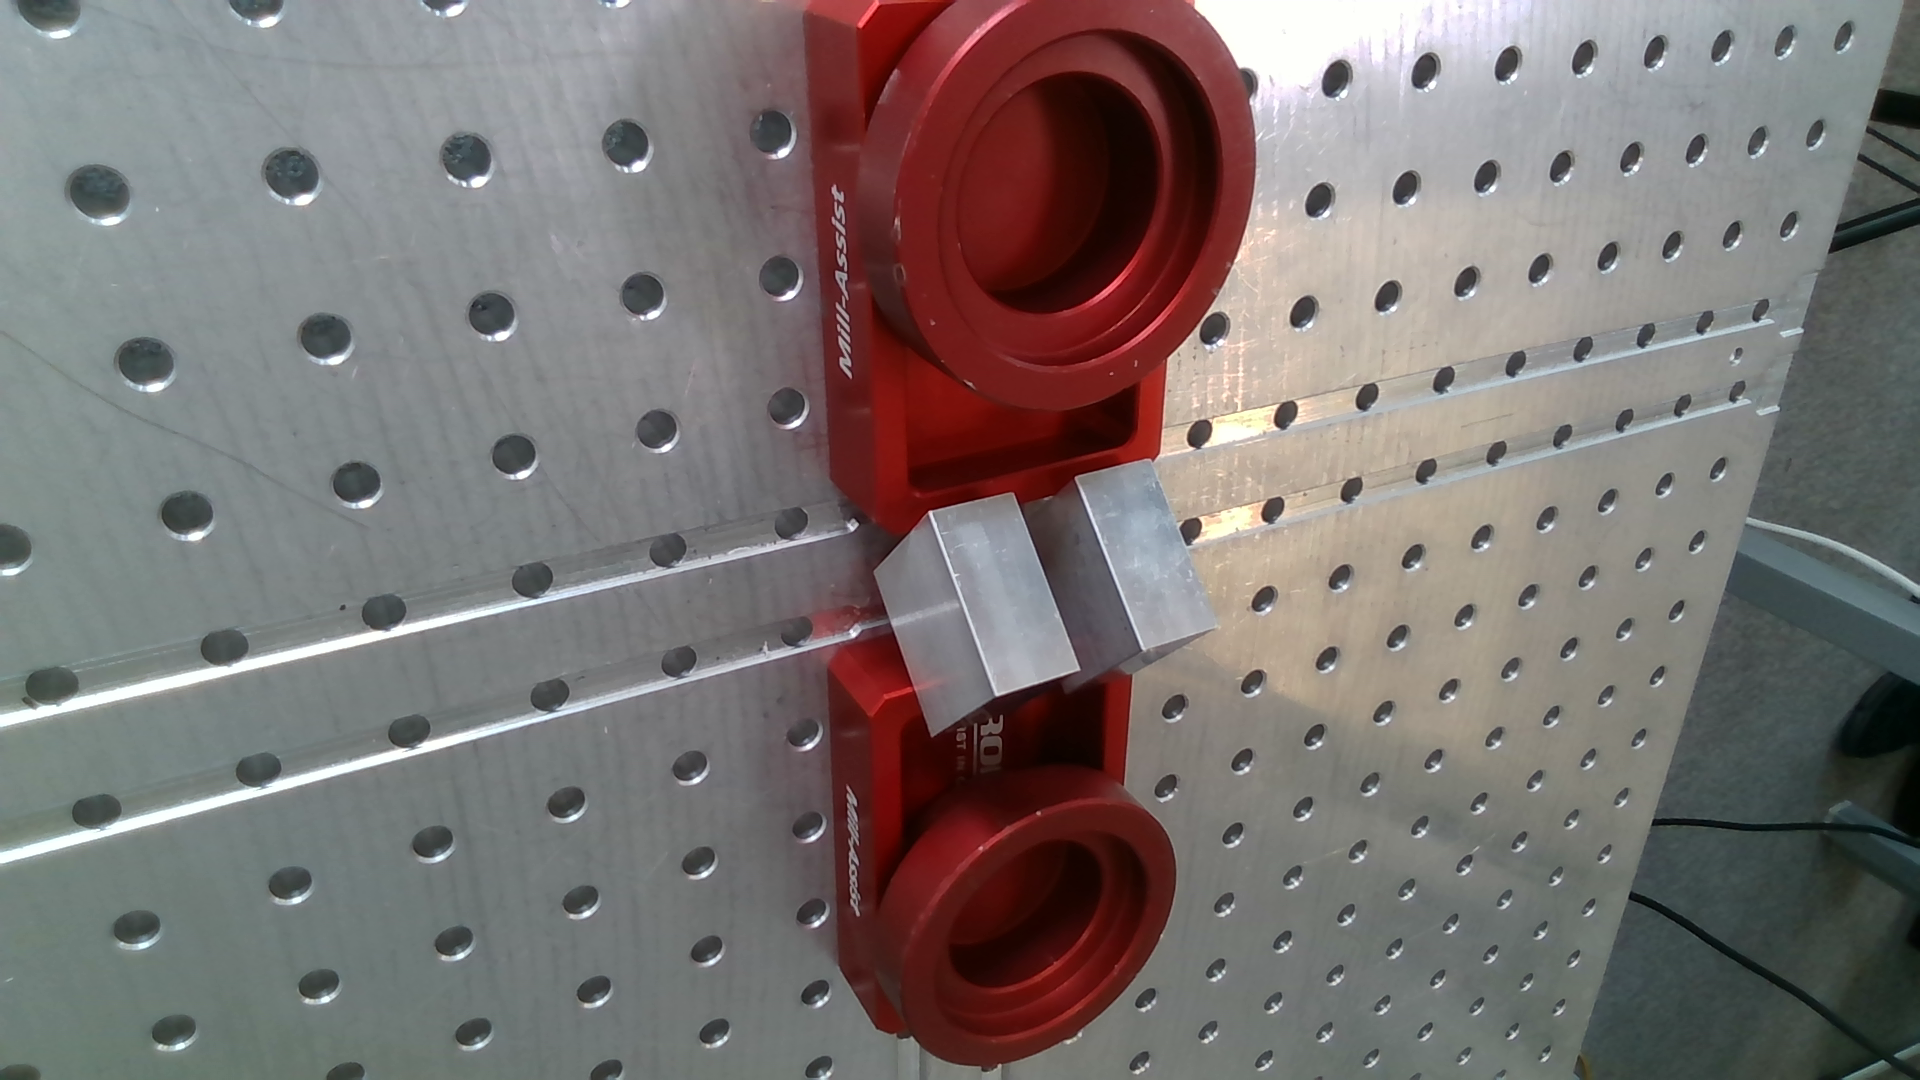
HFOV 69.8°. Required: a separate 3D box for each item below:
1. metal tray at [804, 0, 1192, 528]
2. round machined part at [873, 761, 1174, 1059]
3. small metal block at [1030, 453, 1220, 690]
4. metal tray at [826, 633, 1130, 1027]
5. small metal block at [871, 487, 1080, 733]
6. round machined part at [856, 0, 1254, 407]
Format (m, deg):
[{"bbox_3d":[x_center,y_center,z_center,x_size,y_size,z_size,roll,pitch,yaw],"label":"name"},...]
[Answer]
[{"bbox_3d":[0.011,-0.075,0.357,0.090,0.030,0.130,-14,121,-23],"label":"metal tray"},{"bbox_3d":[0.016,0.111,0.436,0.098,0.042,0.098,-14,122,-25],"label":"round machined part"},{"bbox_3d":[0.041,0.010,0.389,0.025,0.050,0.050,-14,77,-25],"label":"small metal block"},{"bbox_3d":[0.006,0.085,0.441,0.090,0.030,0.130,-14,121,-25],"label":"metal tray"},{"bbox_3d":[0.003,0.020,0.370,0.025,0.050,0.050,-14,77,-25],"label":"small metal block"},{"bbox_3d":[0.019,-0.085,0.332,0.098,0.042,0.098,-14,122,-25],"label":"round machined part"}]
